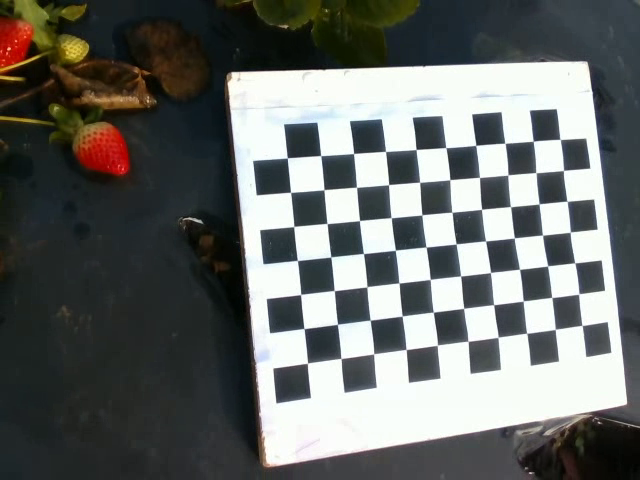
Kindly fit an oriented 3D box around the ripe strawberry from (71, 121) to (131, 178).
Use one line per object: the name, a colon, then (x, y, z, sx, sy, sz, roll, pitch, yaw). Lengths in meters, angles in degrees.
ripe strawberry: (-0.138, -0.056, 0.390, 0.035, 0.043, 0.029, -44, 3, -13)
